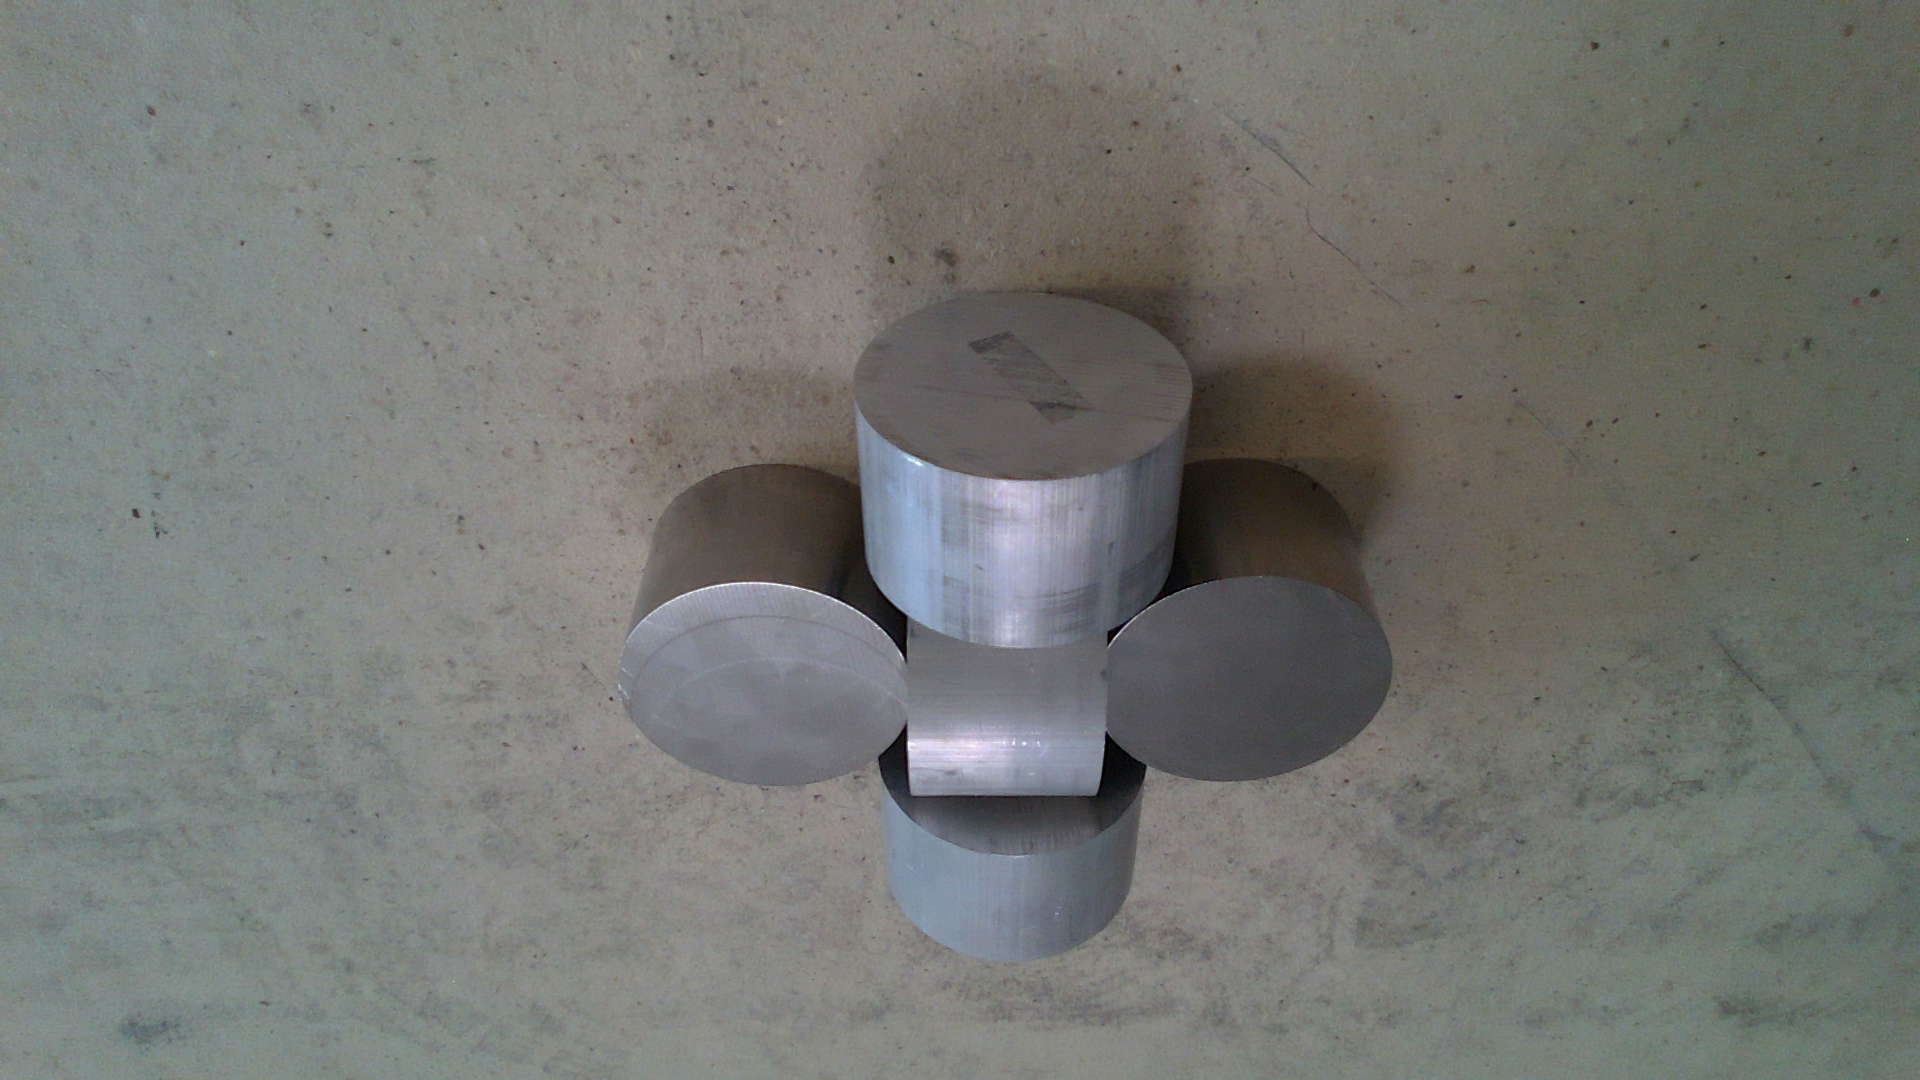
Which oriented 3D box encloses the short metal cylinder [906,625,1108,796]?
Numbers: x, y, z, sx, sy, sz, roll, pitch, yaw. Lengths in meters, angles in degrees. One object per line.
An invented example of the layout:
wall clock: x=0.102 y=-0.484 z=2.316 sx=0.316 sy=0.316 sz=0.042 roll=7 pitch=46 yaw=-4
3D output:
short metal cylinder: x=0.012 y=0.031 z=0.381 sx=0.050 sy=0.080 sz=0.080 roll=0 pitch=130 yaw=0

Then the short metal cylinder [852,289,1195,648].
short metal cylinder: x=0.015 y=-0.020 z=0.339 sx=0.080 sy=0.080 sz=0.050 roll=0 pitch=130 yaw=0

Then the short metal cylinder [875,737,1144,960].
short metal cylinder: x=0.015 y=0.080 z=0.423 sx=0.080 sy=0.080 sz=0.050 roll=0 pitch=130 yaw=0

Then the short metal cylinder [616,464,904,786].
short metal cylinder: x=-0.054 y=0.025 z=0.395 sx=0.080 sy=0.050 sz=0.080 roll=-1 pitch=130 yaw=-1

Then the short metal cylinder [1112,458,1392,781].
short metal cylinder: x=0.077 y=0.024 z=0.394 sx=0.080 sy=0.050 sz=0.080 roll=0 pitch=130 yaw=0
